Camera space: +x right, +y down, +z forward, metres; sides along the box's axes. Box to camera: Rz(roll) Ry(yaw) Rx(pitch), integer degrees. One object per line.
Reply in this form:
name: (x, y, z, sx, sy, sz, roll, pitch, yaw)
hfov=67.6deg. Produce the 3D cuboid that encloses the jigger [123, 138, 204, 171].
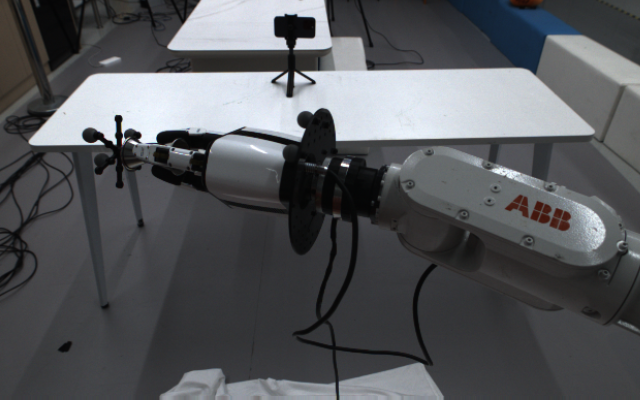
jigger: (-0.192, -0.058, 0.580, 0.071, 0.043, 0.043, 5, 34, 15)
